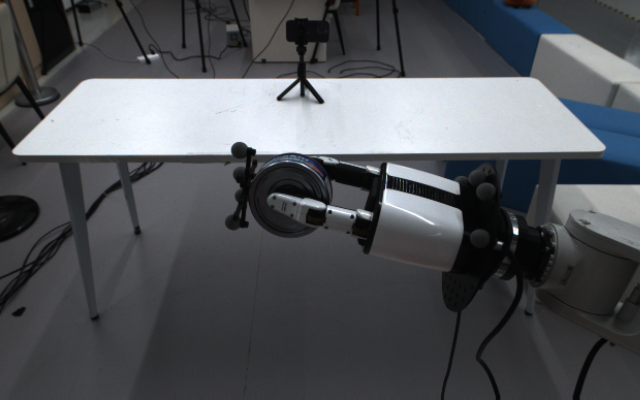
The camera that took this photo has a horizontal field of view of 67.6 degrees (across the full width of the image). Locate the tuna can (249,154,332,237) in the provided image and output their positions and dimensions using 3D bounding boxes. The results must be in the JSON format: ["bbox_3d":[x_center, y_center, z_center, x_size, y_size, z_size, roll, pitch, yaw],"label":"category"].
[{"bbox_3d":[-0.027,-0.001,0.506,0.085,0.085,0.034,4,18,3],"label":"tuna can"}]
